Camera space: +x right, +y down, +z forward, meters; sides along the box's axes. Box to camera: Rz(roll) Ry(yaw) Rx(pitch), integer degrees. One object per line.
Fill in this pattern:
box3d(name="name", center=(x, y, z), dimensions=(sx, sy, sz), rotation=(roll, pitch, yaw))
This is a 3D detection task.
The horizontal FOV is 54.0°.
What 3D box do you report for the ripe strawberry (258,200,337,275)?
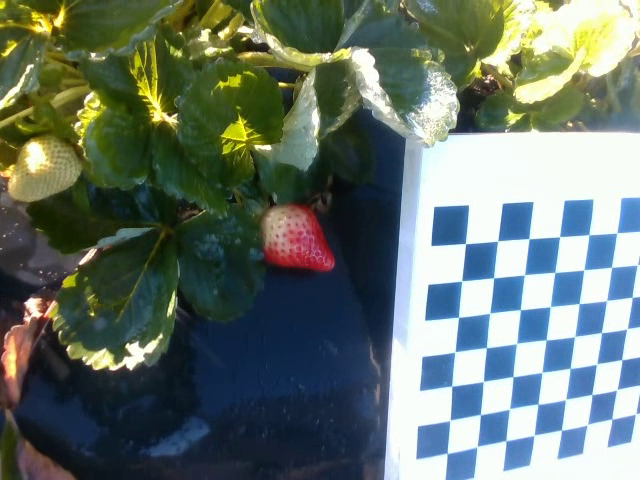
box3d(name="ripe strawberry", center=(-0.013, 0.007, 0.398), dimensions=(0.065, 0.040, 0.040), rotation=(41, -5, -24))
